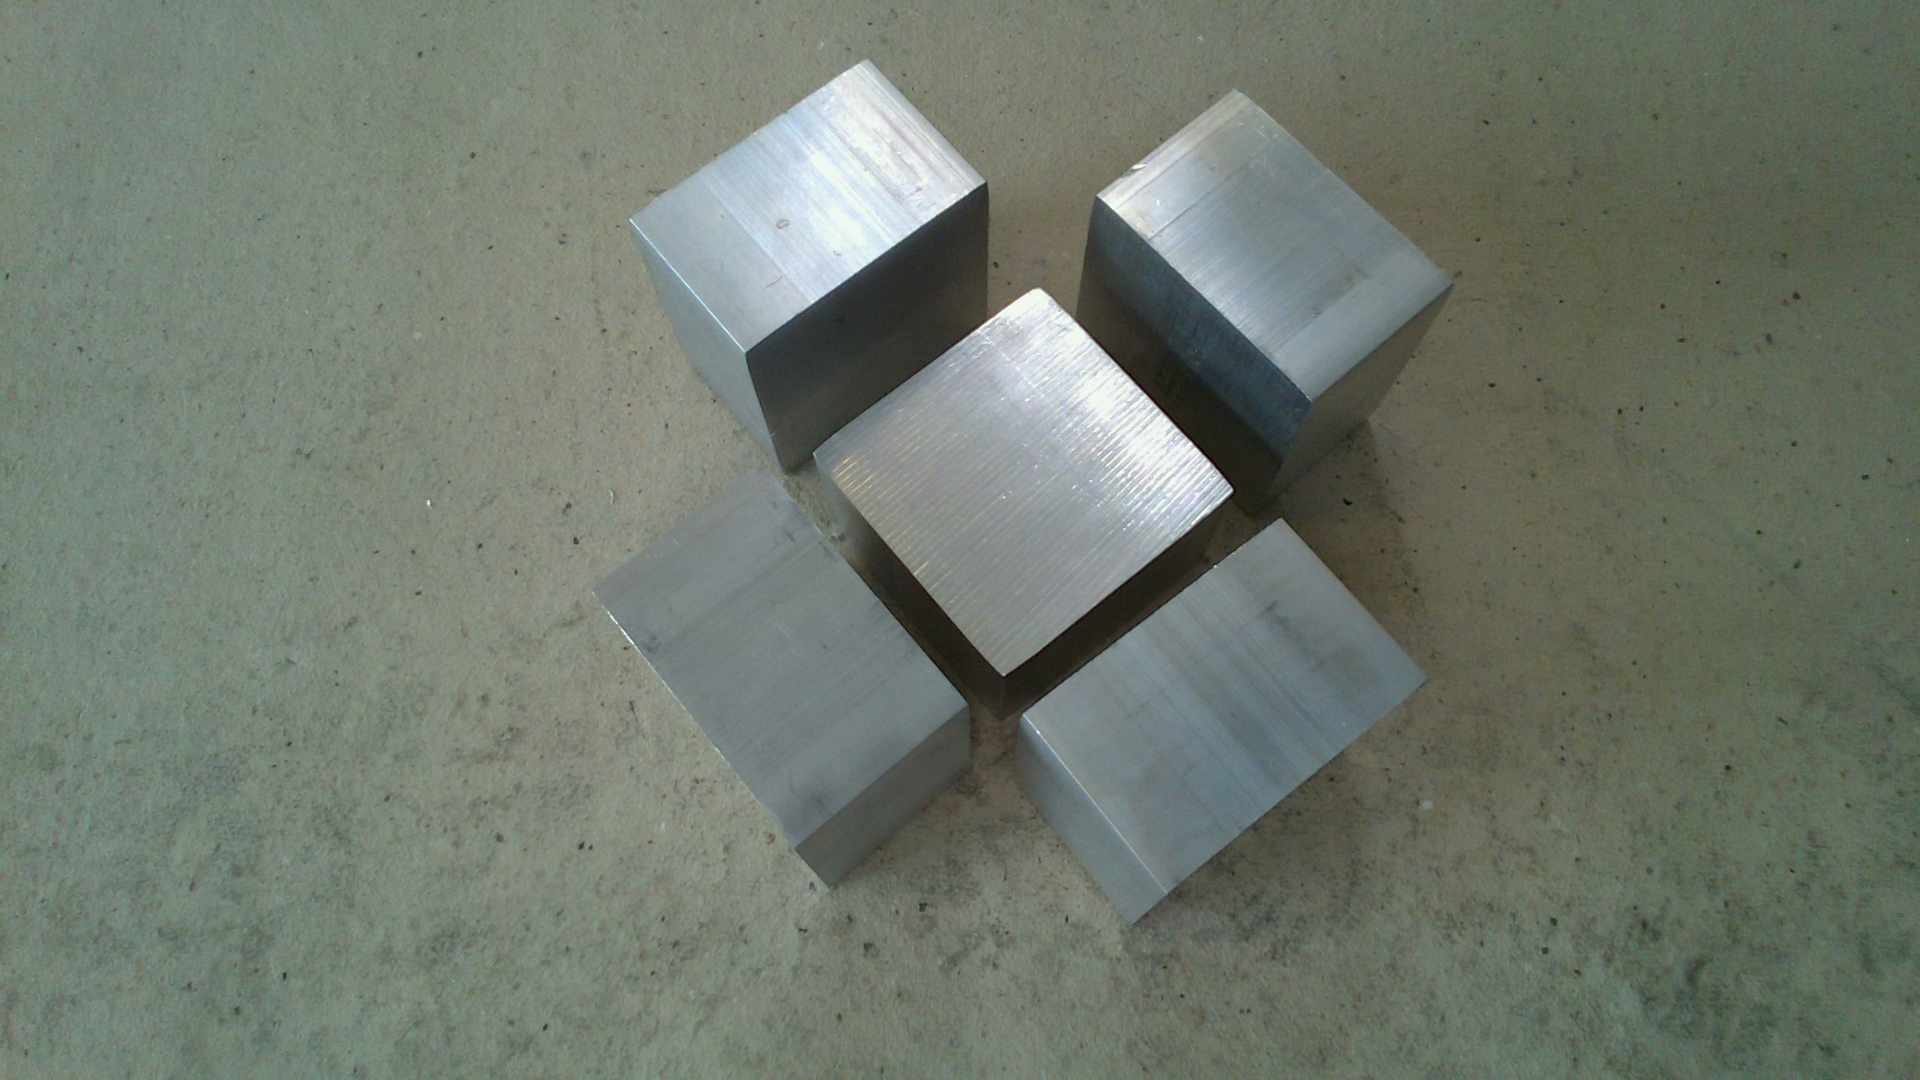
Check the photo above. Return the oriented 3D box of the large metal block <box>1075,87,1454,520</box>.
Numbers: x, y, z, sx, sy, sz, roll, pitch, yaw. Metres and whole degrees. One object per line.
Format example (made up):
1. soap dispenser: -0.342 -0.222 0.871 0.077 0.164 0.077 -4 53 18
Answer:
1. large metal block: 0.080 -0.064 0.389 0.050 0.080 0.080 -39 74 -13

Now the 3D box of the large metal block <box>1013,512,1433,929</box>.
1. large metal block: 0.061 0.049 0.347 0.080 0.080 0.050 -36 73 -12

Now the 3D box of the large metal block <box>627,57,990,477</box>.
1. large metal block: -0.039 -0.075 0.394 0.080 0.080 0.050 -38 74 -13

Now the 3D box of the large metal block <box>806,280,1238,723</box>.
1. large metal block: 0.016 -0.010 0.383 0.080 0.050 0.080 -38 74 -13

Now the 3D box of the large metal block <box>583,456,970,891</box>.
1. large metal block: -0.042 0.038 0.351 0.050 0.080 0.080 -38 74 -13
